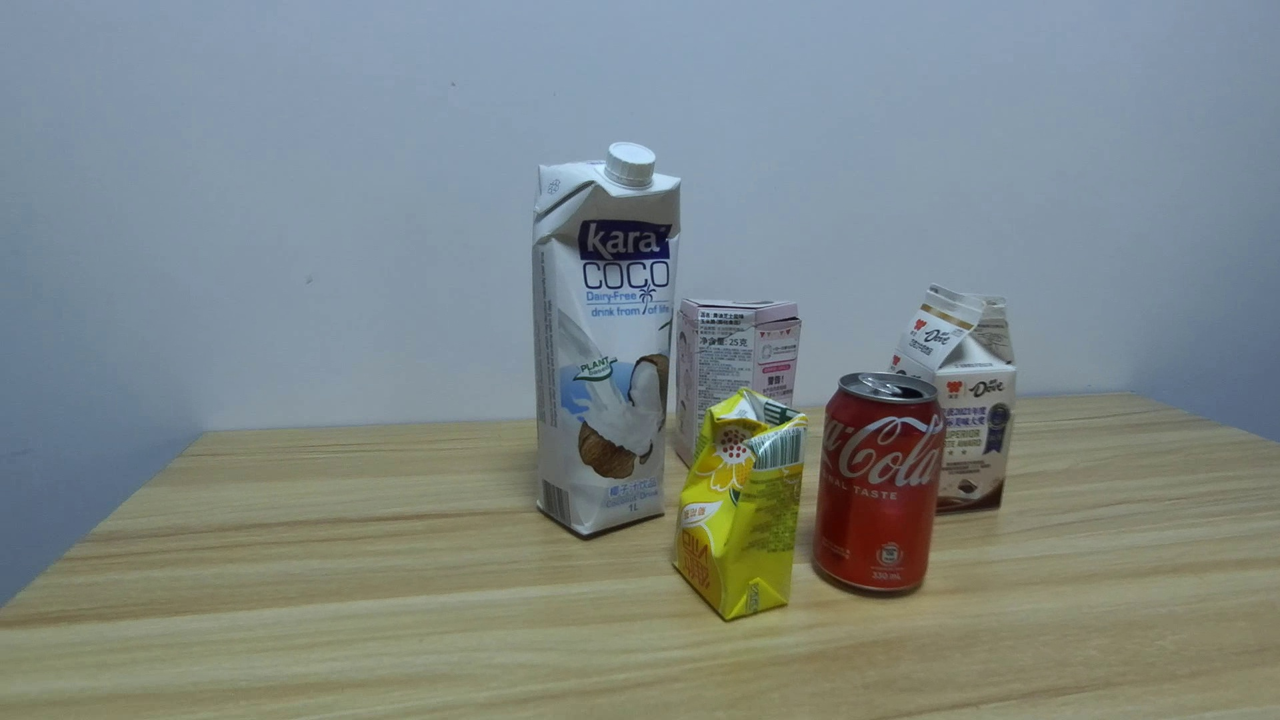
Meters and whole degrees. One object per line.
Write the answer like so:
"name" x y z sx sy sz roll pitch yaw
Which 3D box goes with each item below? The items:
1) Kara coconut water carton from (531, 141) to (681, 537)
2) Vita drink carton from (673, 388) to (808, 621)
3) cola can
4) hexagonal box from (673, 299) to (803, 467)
"Kara coconut water carton" -0.020 -0.014 0.463 0.100 0.244 0.071 -10 18 -35
"Vita drink carton" 0.052 0.076 0.391 0.047 0.109 0.071 -3 14 -25
"cola can" 0.138 0.069 0.409 0.068 0.120 0.068 1 15 0
"hexagonal box" 0.075 0.018 0.566 0.092 0.135 0.084 -11 20 -41
